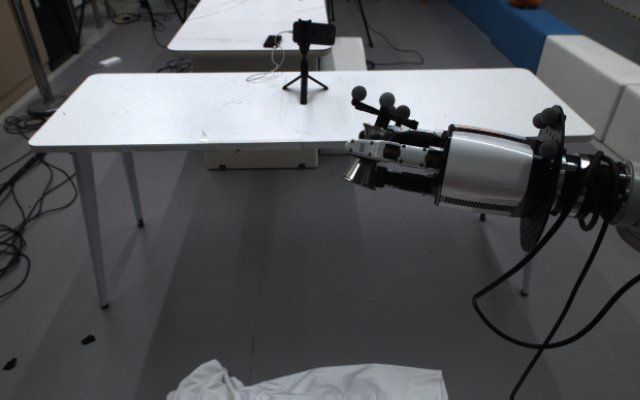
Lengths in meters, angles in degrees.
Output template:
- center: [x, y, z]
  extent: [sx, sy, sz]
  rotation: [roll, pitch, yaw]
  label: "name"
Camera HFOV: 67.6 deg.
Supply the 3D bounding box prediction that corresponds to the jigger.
- center: [0.055, -0.052, 0.561]
  extent: [0.043, 0.071, 0.043]
  rotation: [22, 6, -2]
  label: "jigger"
